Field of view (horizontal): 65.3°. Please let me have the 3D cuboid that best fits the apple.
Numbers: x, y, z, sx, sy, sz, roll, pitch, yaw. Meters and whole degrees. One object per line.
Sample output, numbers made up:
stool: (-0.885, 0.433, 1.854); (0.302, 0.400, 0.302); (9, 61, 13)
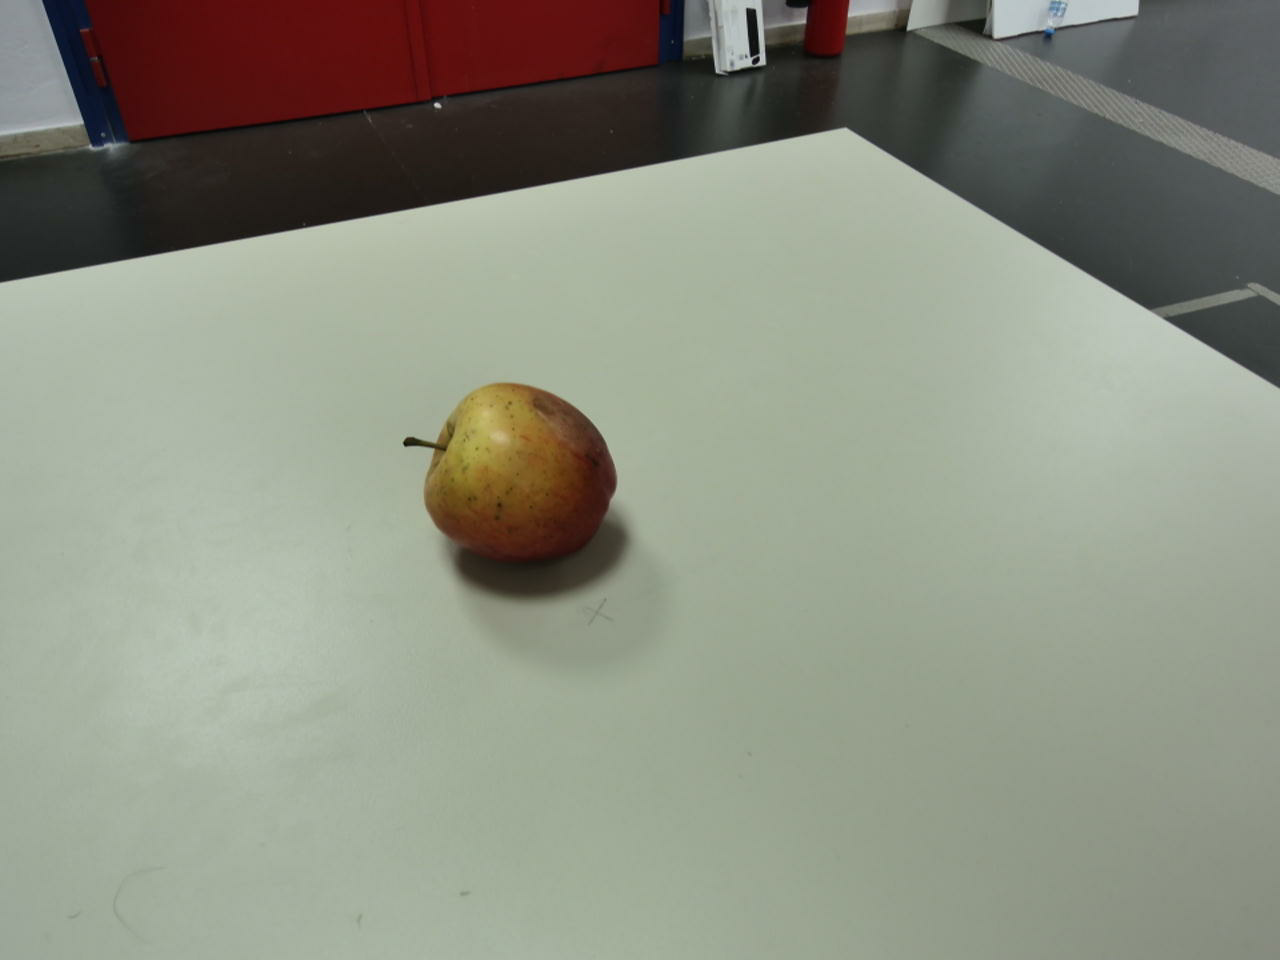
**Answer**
apple: (-0.059, -0.003, 0.477); (0.093, 0.084, 0.086); (20, 42, 22)
